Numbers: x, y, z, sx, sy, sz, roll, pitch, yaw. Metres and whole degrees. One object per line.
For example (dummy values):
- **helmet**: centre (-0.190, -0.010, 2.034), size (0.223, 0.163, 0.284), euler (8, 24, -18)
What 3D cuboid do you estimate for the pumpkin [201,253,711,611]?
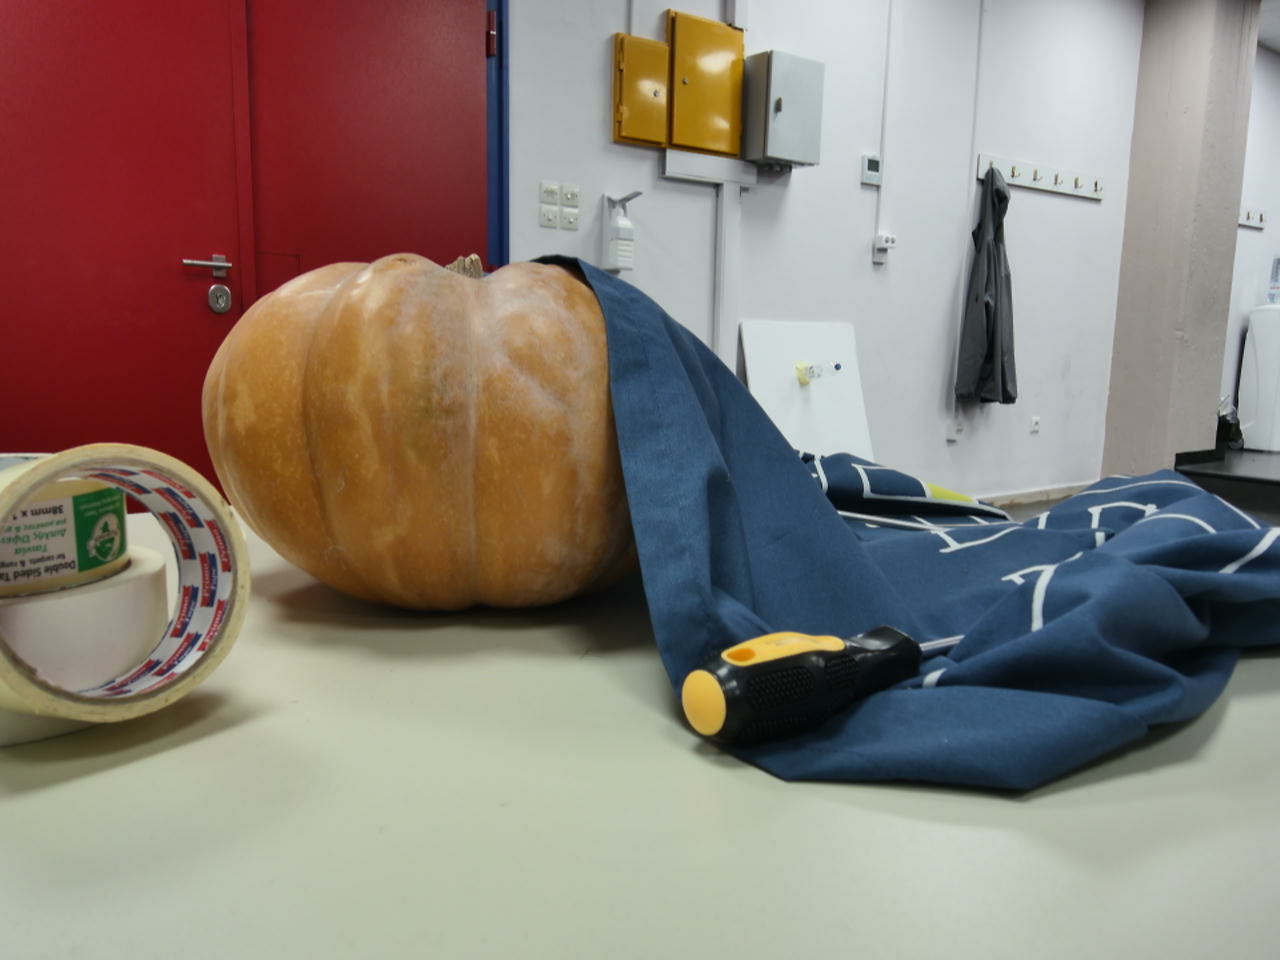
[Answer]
- **pumpkin**: centre (-0.093, -0.029, 0.539), size (0.277, 0.181, 0.277), euler (0, 7, 0)
